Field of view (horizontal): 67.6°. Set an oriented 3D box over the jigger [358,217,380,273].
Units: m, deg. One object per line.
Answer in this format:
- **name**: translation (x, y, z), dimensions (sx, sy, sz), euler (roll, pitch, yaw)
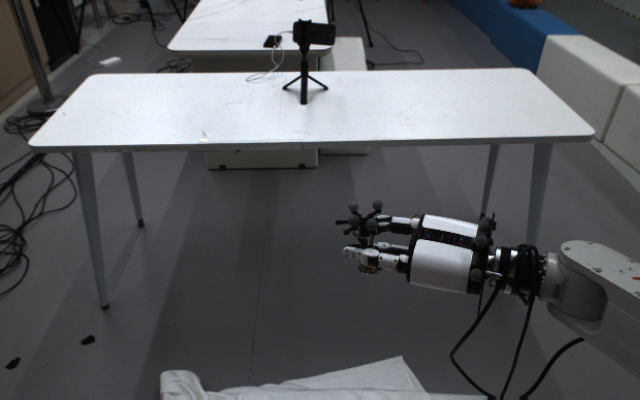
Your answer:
- **jigger**: translation (0.078, 0.075, 0.778), dimensions (0.043, 0.071, 0.043), euler (-11, 23, 5)
